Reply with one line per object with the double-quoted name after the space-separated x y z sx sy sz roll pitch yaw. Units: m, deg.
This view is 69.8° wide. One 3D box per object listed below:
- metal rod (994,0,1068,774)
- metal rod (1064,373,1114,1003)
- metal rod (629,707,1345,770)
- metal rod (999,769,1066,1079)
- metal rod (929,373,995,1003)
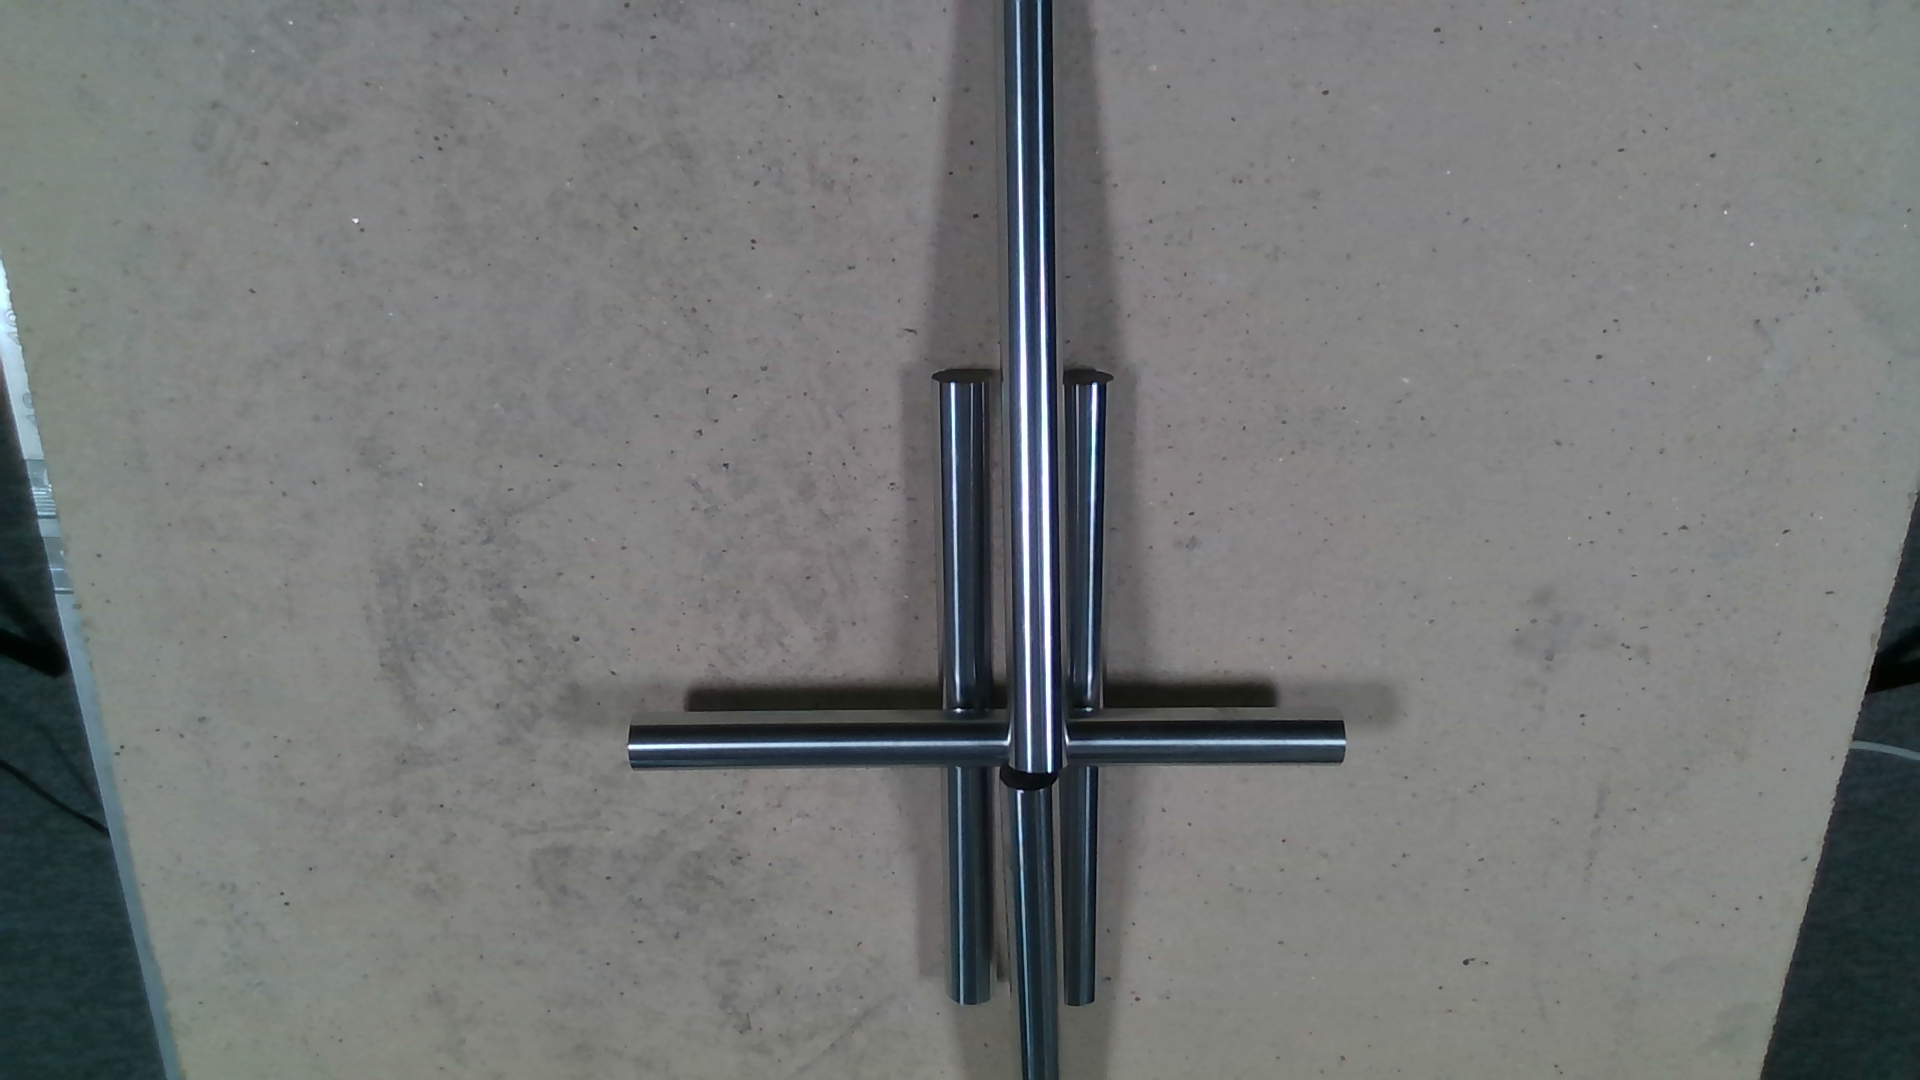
0.028 -0.056 0.537 0.025 0.025 0.300 -1 101 1 "metal rod"
0.053 0.074 0.611 0.025 0.025 0.301 -1 110 0 "metal rod"
0.011 0.085 0.589 0.300 0.025 0.025 0 110 0 "metal rod"
0.037 0.225 0.641 0.025 0.025 0.301 -3 120 1 "metal rod"
0.002 0.074 0.612 0.025 0.025 0.301 -1 110 0 "metal rod"
